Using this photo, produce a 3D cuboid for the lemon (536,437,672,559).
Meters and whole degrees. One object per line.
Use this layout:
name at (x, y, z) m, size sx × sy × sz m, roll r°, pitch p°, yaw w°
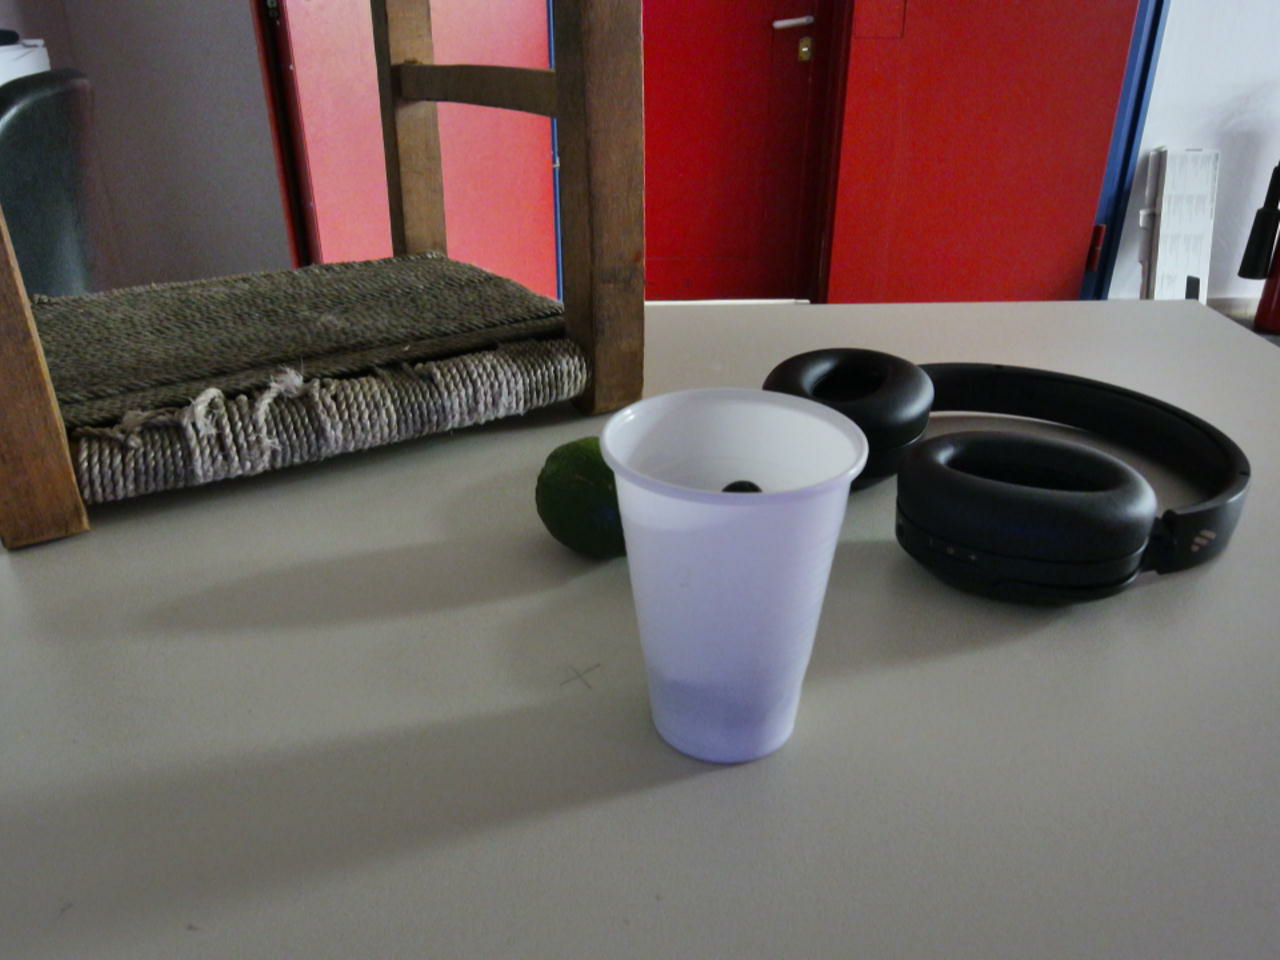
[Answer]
lemon at (-0.016, 0.007, 0.431) m, size 0.057 × 0.051 × 0.054 m, roll -2°, pitch 24°, yaw -4°
